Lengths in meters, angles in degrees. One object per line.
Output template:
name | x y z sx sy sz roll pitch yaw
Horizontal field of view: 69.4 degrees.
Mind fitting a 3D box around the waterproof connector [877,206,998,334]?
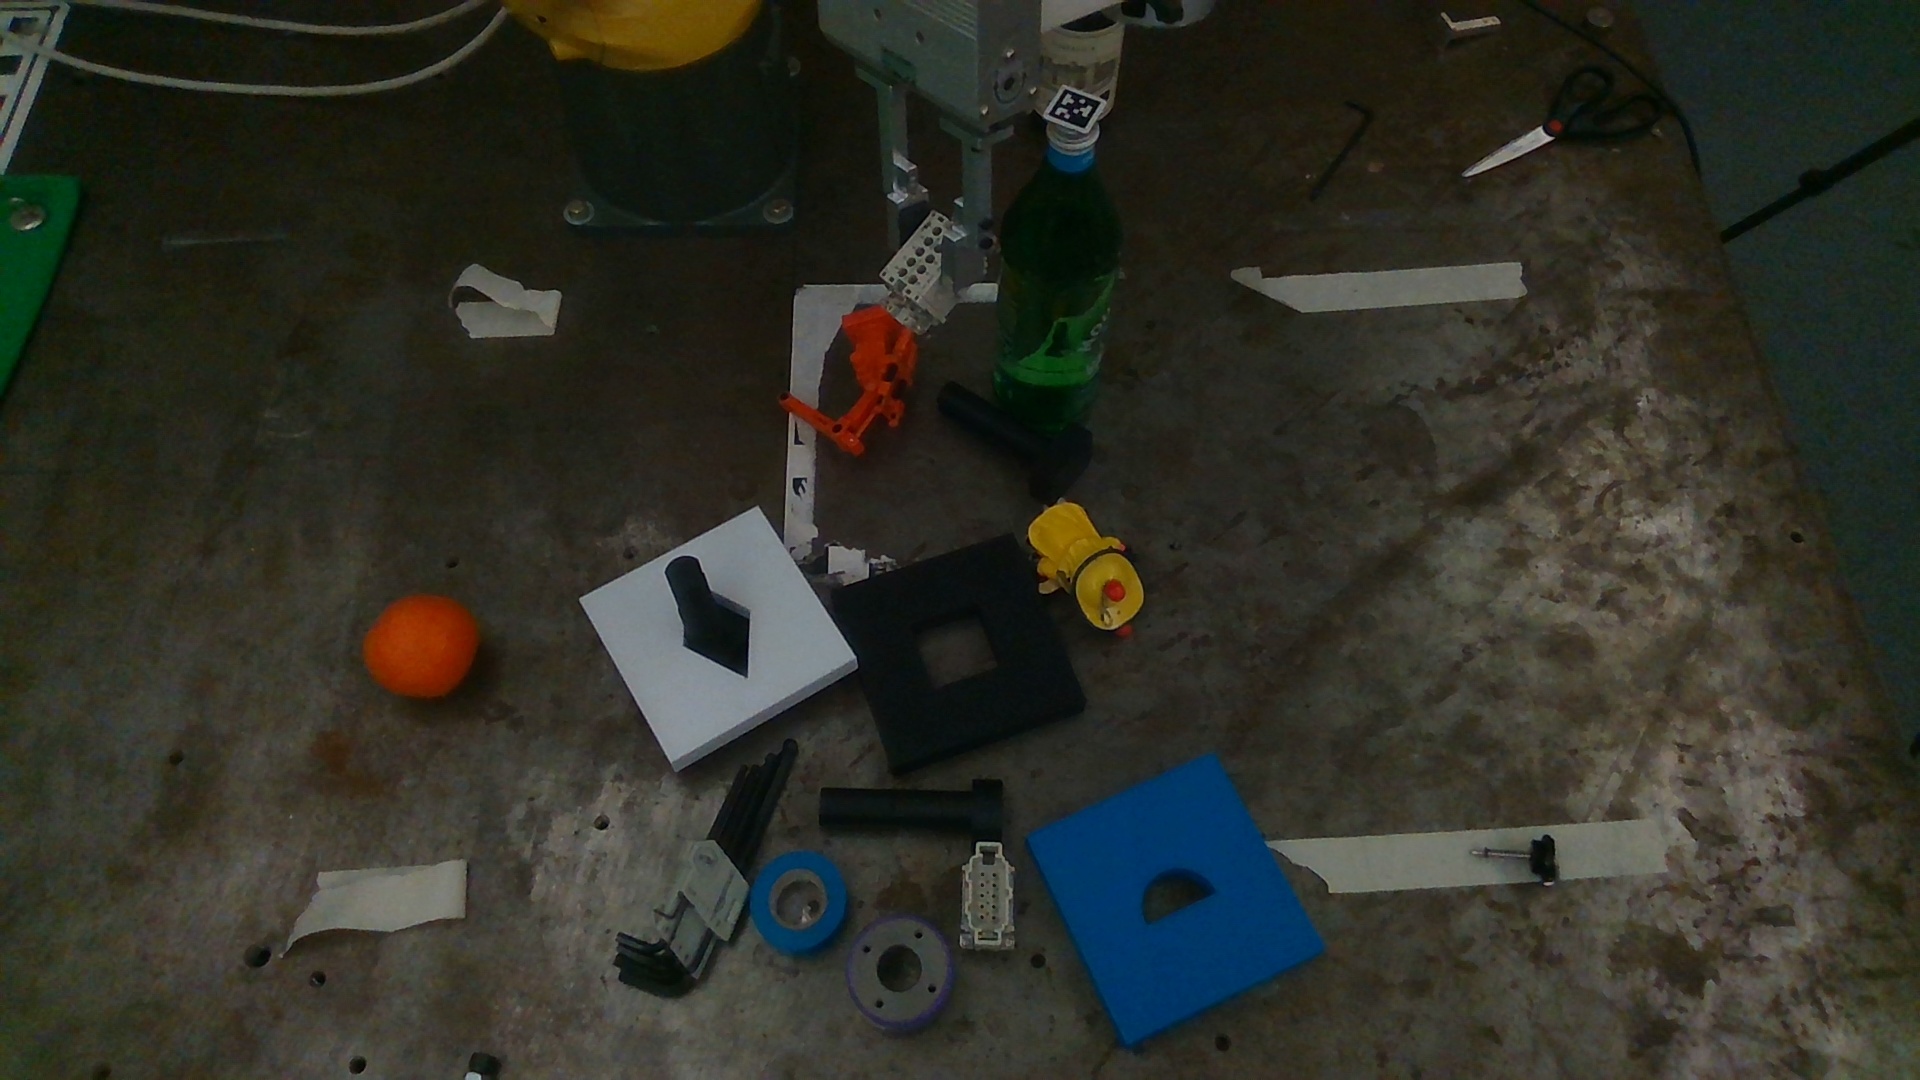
waterproof connector | -0.011 -0.140 0.721 0.037 0.038 0.069 36 89 32
